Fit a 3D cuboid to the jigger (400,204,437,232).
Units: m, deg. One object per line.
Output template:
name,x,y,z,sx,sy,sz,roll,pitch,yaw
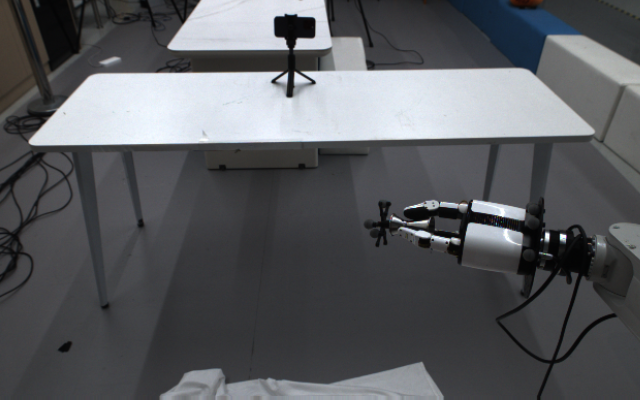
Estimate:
jigger,0.162,0.037,0.818,0.071,0.043,0.043,4,32,27
